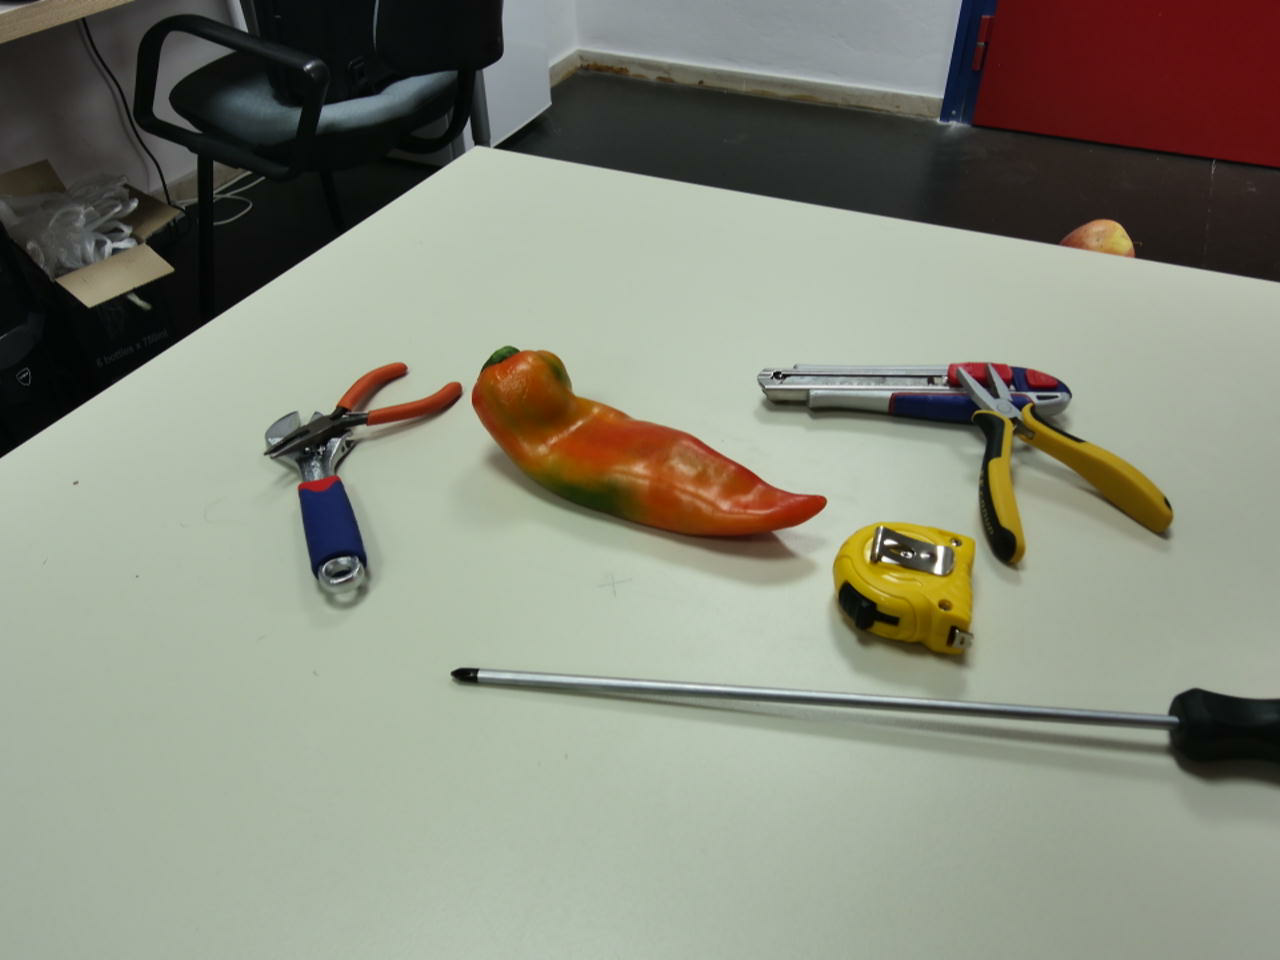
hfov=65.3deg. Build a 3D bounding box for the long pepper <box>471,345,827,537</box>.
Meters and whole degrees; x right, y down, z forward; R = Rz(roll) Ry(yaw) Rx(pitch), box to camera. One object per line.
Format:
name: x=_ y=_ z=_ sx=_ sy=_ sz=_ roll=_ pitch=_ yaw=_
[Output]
long pepper: x=0.000 y=-0.019 z=0.517 sx=0.199 sy=0.065 sz=0.066 roll=20 pitch=43 yaw=24
